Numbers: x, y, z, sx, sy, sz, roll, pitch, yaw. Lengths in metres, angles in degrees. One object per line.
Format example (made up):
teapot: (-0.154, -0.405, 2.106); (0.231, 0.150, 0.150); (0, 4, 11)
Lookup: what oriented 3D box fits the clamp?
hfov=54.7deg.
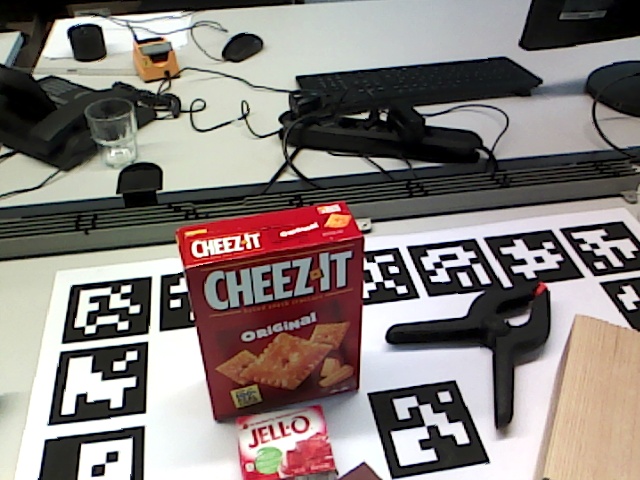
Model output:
clamp: (0.202, 0.109, 0.713); (0.202, 0.036, 0.166); (-31, 50, -29)

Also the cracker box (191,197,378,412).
cracker box: (-0.034, 0.071, 0.621); (0.164, 0.213, 0.072); (-8, 41, -11)

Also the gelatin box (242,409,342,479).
gelatin box: (-0.029, 0.212, 0.610); (0.089, 0.030, 0.073); (-8, 44, -8)

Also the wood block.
wood block: (0.266, 0.185, 0.592); (0.090, 0.090, 0.206); (15, 41, 20)

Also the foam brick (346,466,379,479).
foam brick: (0.025, 0.251, 0.546); (0.078, 0.051, 0.053); (-25, 49, -25)
